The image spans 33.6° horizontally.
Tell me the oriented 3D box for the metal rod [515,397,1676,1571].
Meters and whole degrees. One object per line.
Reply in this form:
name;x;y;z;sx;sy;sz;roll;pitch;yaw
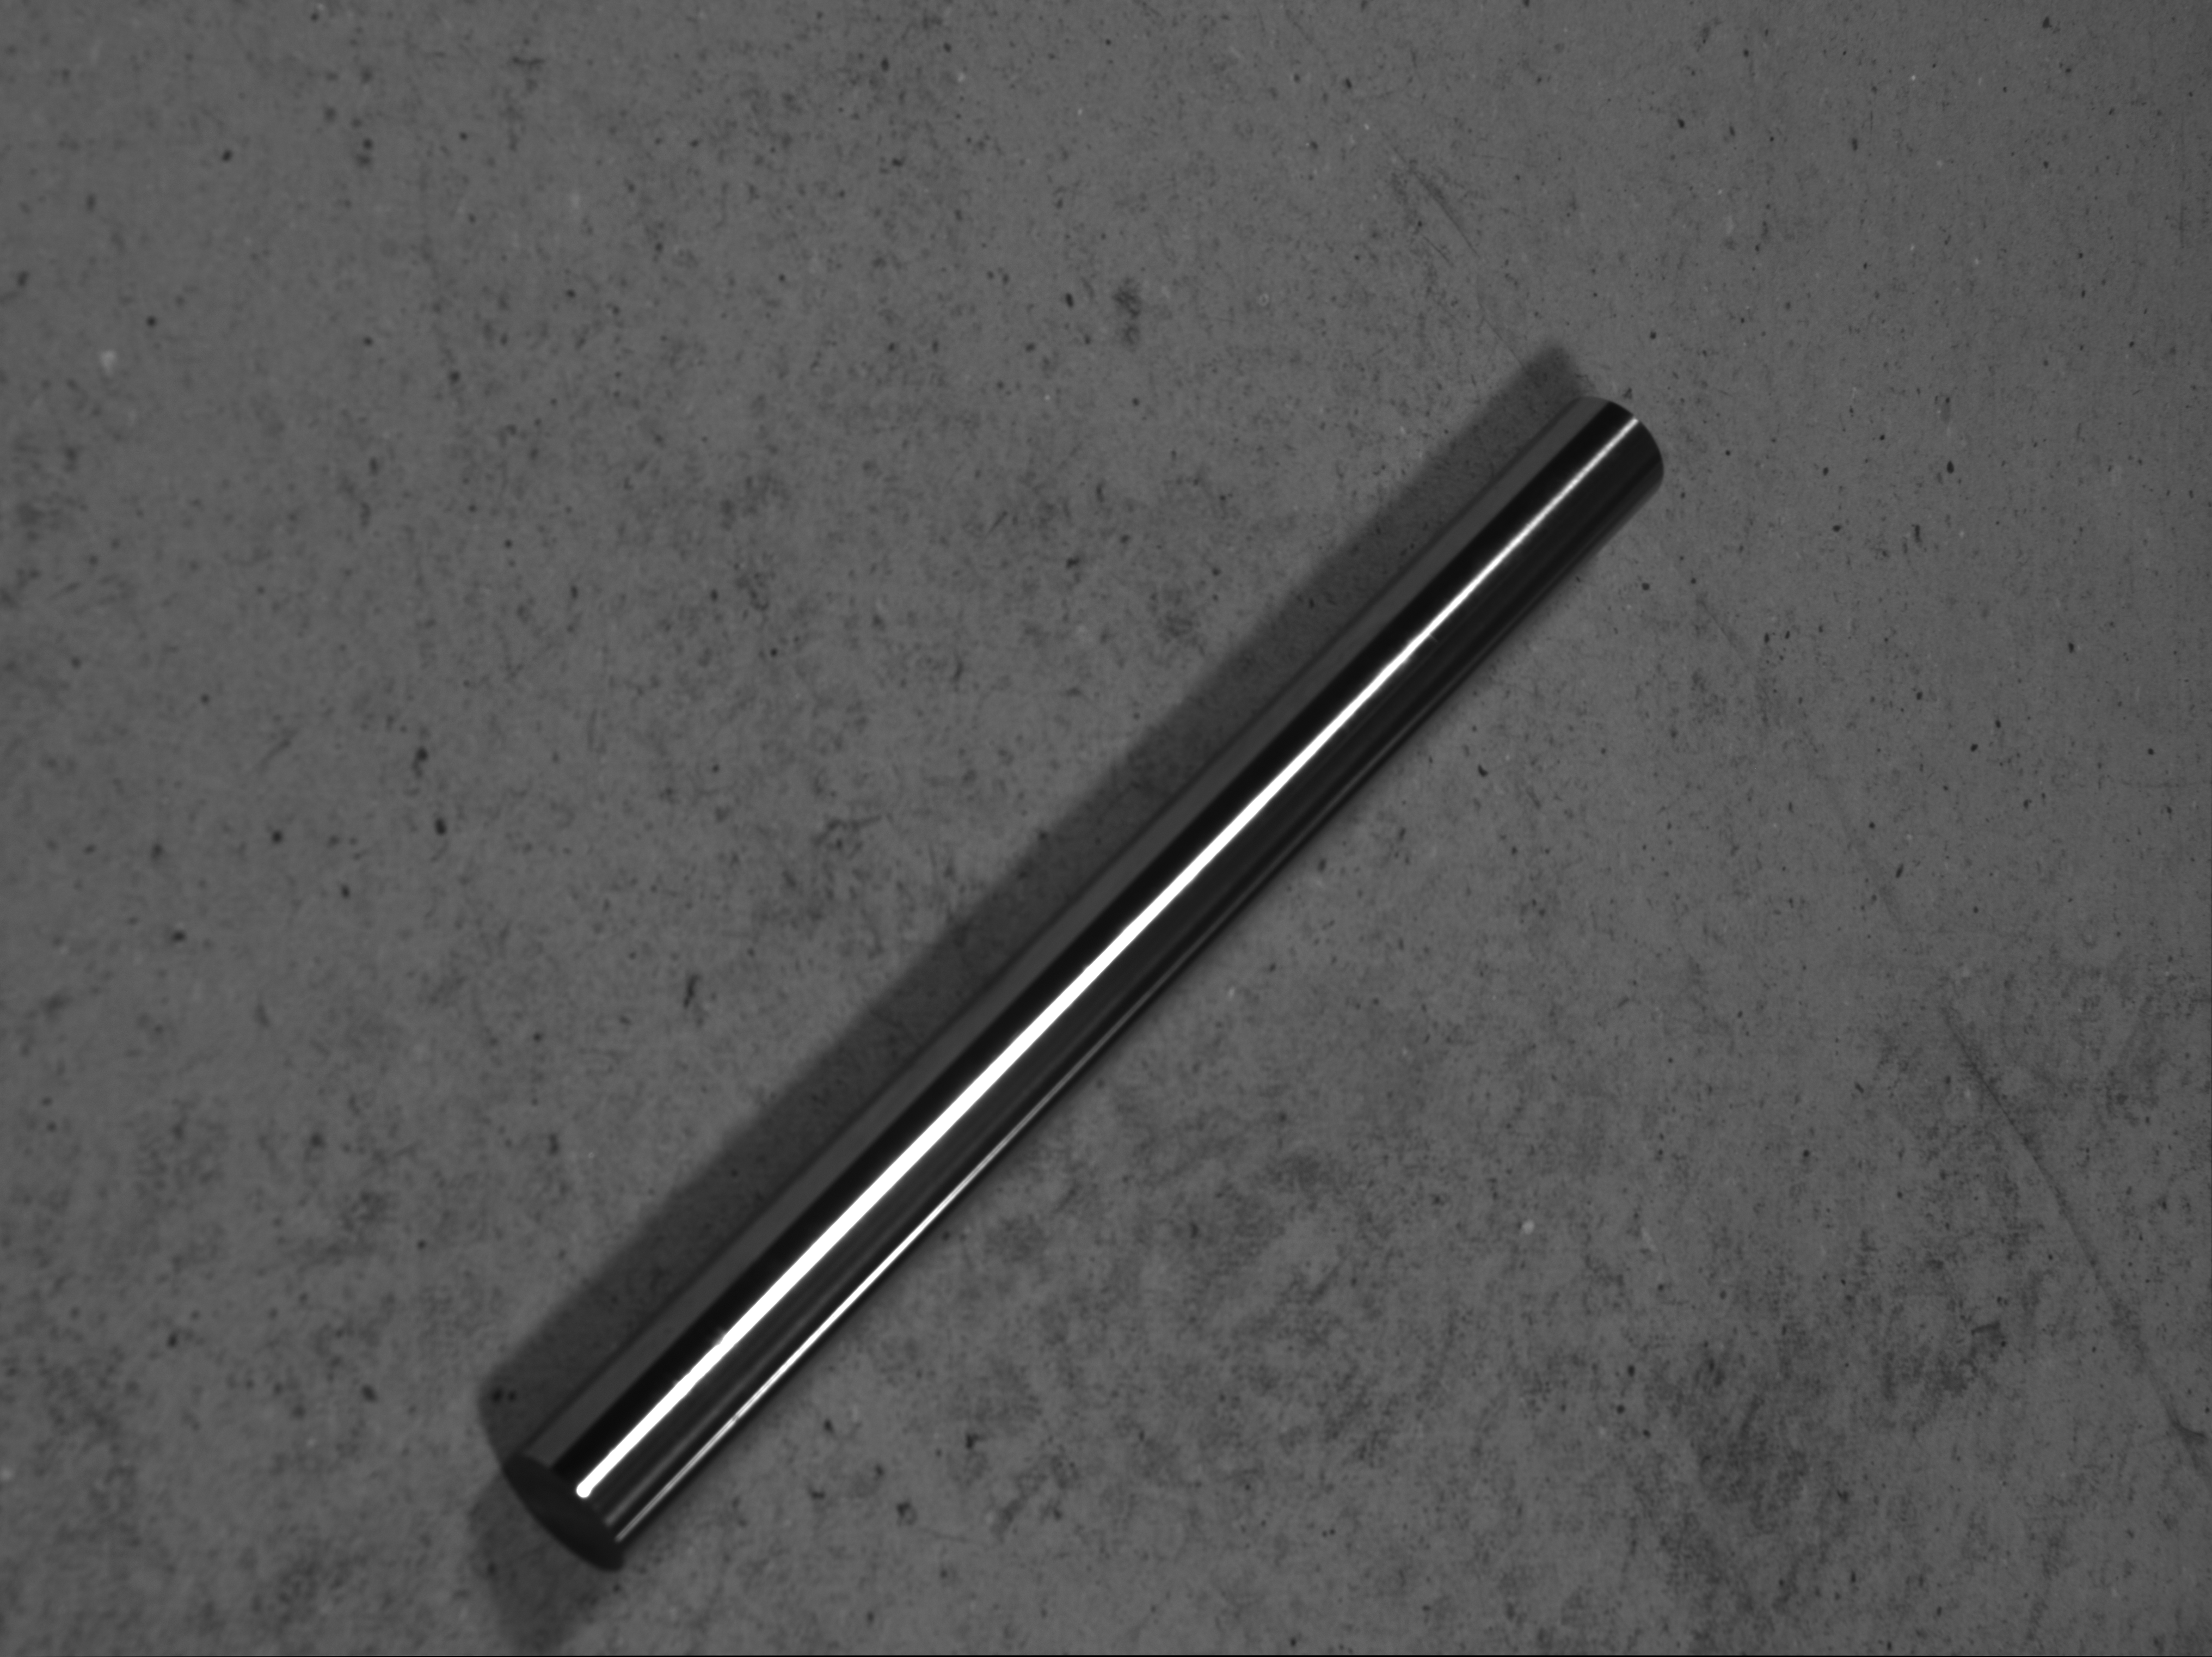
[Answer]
metal rod;0.010;0.016;0.646;0.300;0.025;0.025;-44;117;-31
